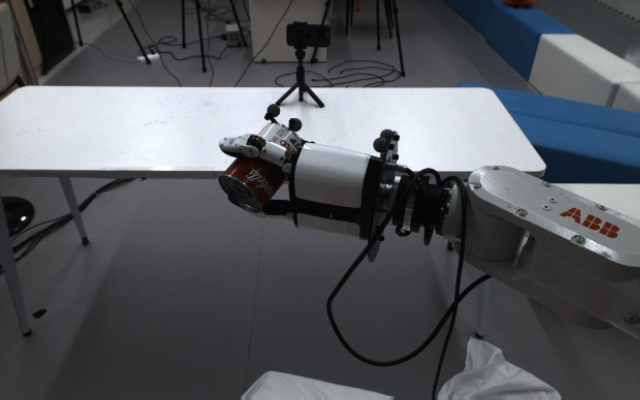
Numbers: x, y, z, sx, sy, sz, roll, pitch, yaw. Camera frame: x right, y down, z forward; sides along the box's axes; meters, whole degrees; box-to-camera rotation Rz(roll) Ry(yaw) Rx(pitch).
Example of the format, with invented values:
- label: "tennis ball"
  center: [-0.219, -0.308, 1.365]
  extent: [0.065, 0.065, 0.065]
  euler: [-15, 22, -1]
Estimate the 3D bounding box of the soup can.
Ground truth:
- label: "soup can"
  center: [-0.071, -0.043, 0.619]
  extent: [0.067, 0.067, 0.101]
  euler: [22, 60, 26]
